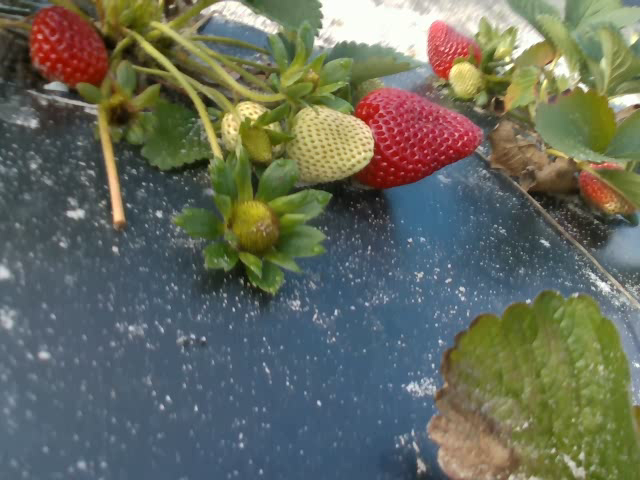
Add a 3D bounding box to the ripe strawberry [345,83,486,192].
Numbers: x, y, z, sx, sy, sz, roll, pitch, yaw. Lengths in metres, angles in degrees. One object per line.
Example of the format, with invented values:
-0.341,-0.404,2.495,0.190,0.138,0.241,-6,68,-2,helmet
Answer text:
0.045,-0.044,0.274,0.055,0.051,0.048,9,-22,25,ripe strawberry
